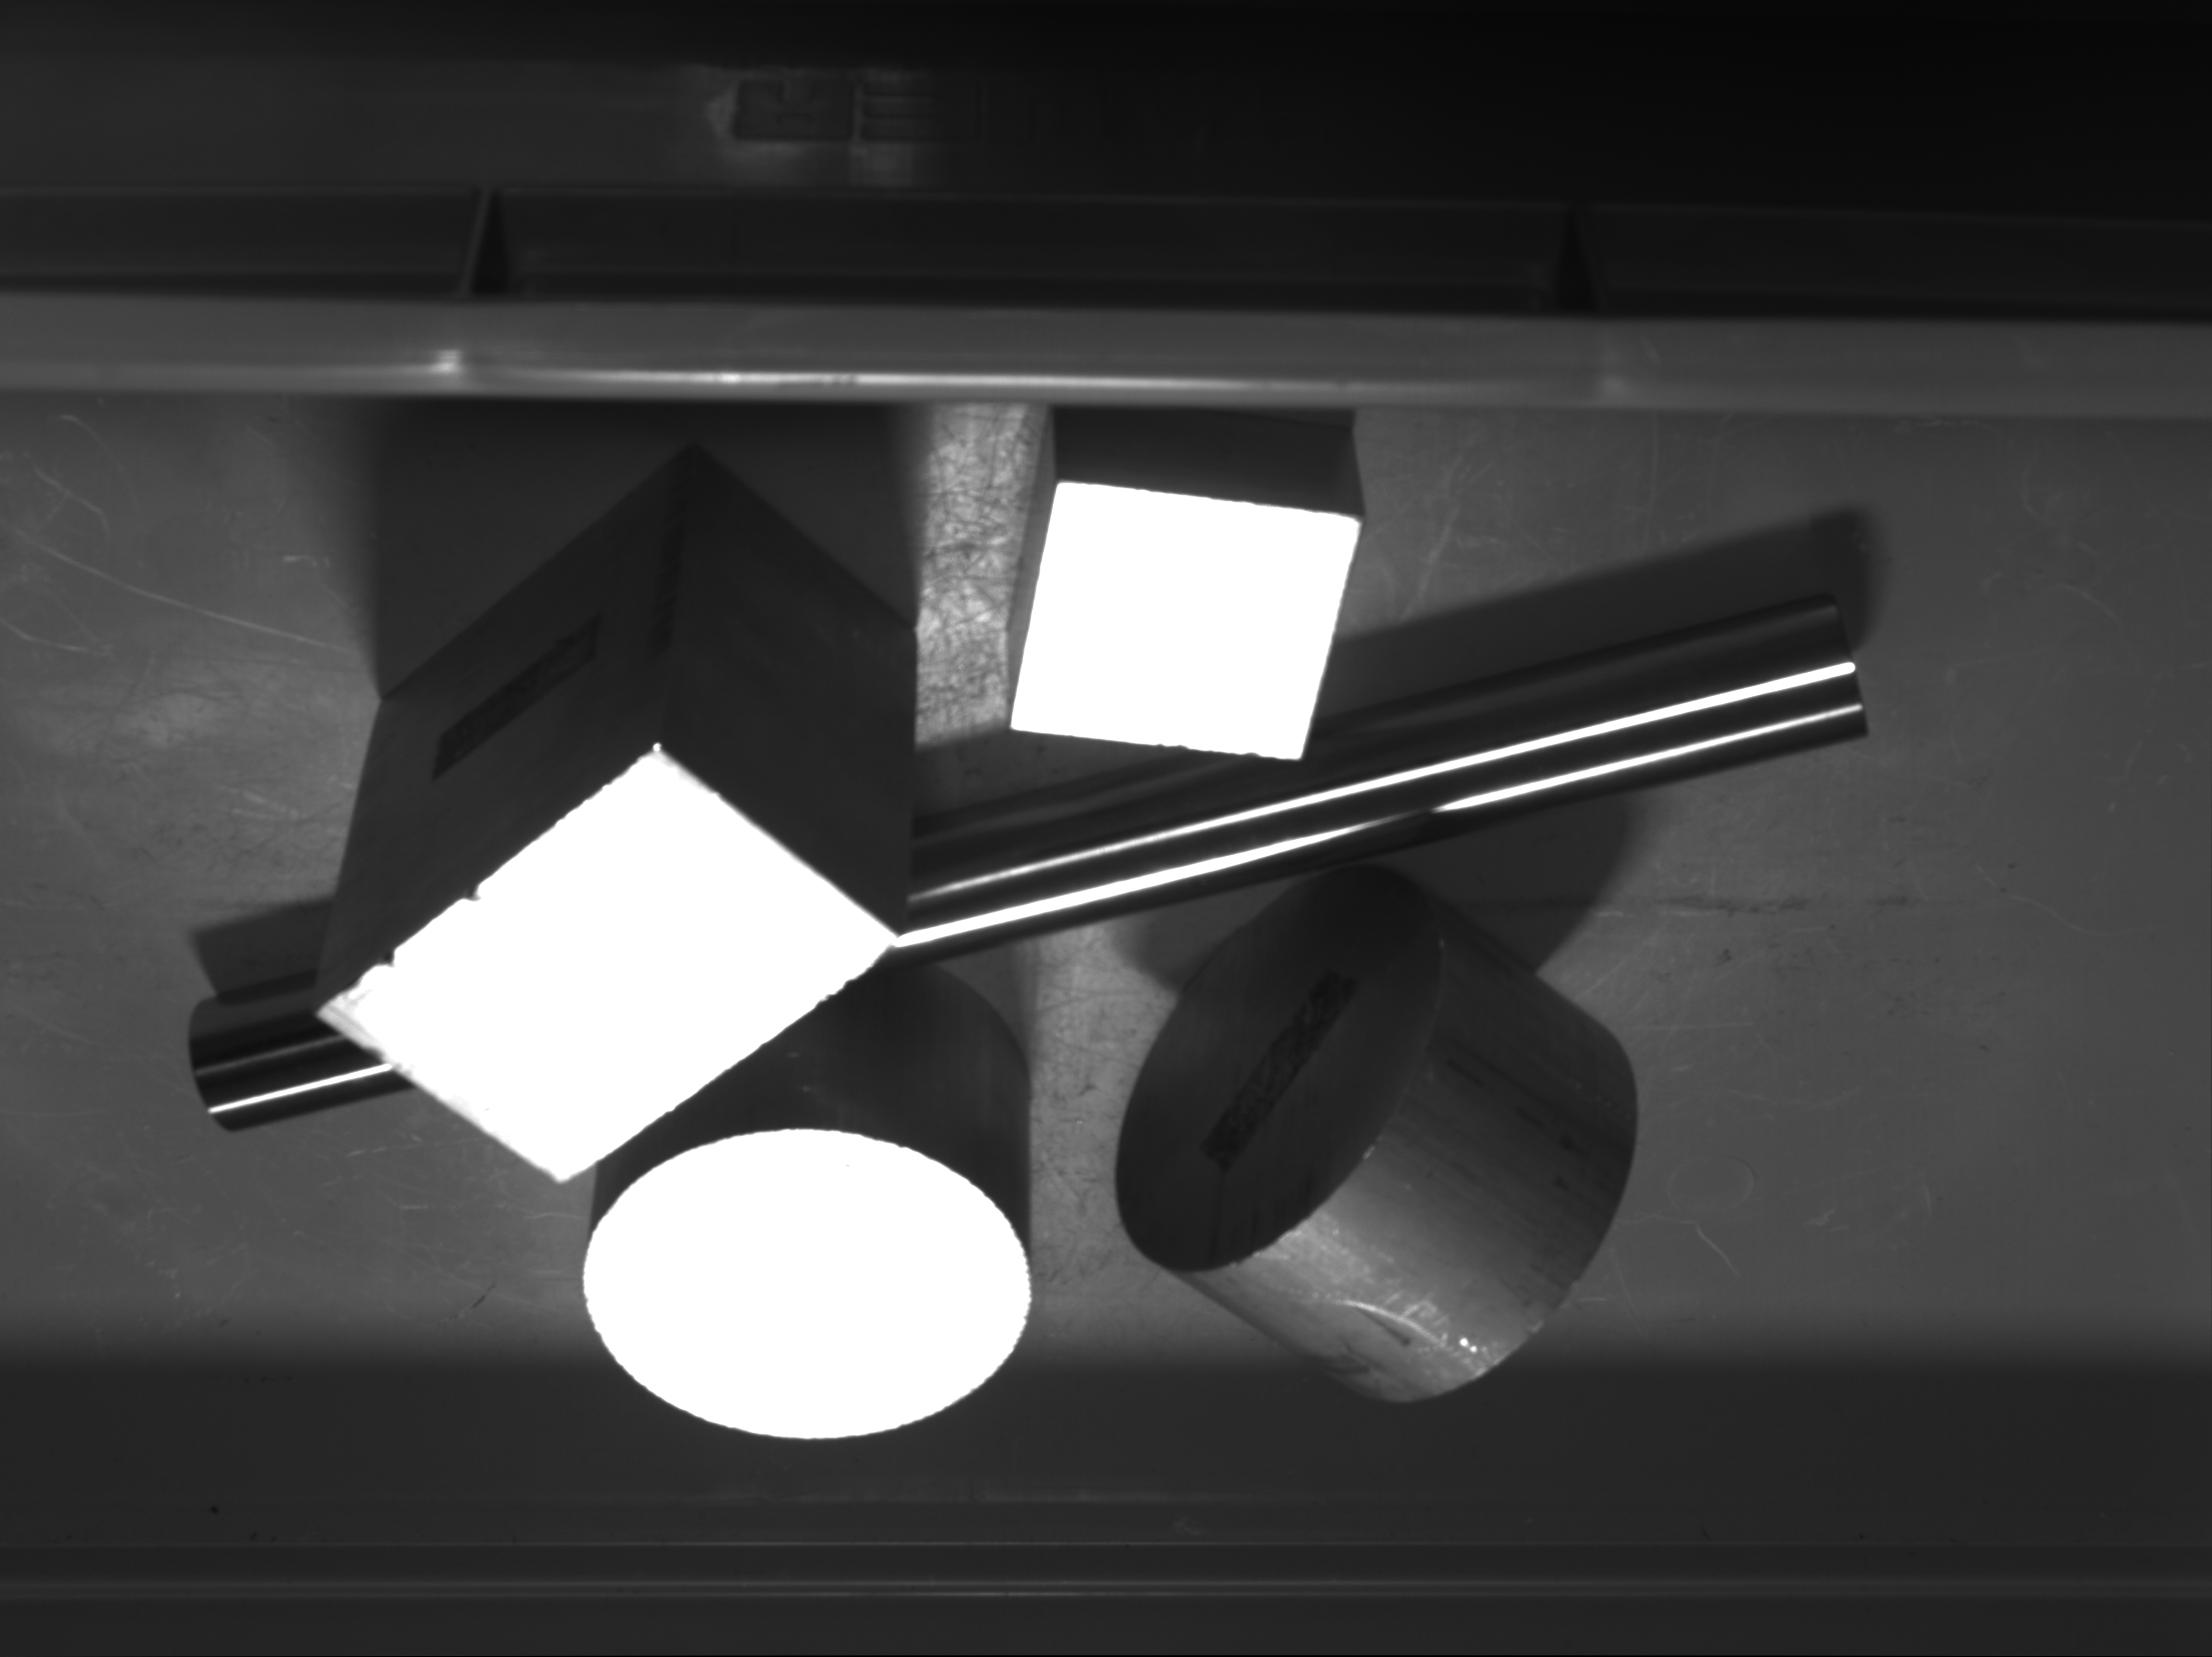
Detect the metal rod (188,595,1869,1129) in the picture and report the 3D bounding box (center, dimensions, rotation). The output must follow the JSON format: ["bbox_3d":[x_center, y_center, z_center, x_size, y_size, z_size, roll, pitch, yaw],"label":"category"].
[{"bbox_3d":[-0.018,0.008,0.643,0.300,0.025,0.025,-14,129,9],"label":"metal rod"}]

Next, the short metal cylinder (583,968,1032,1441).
[{"bbox_3d":[-0.054,0.067,0.675,0.080,0.050,0.080,-1,130,-1],"label":"short metal cylinder"}]

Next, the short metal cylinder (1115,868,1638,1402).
[{"bbox_3d":[0.047,0.054,0.649,0.050,0.080,0.080,36,121,-27],"label":"short metal cylinder"}]

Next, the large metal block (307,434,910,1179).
[{"bbox_3d":[-0.079,-0.004,0.596,0.080,0.080,0.050,-36,122,25],"label":"large metal block"}]

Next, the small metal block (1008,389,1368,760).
[{"bbox_3d":[0.012,-0.041,0.603,0.050,0.025,0.050,7,129,-7],"label":"small metal block"}]
